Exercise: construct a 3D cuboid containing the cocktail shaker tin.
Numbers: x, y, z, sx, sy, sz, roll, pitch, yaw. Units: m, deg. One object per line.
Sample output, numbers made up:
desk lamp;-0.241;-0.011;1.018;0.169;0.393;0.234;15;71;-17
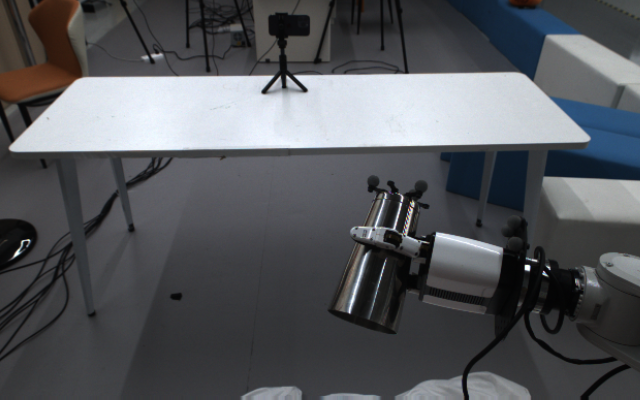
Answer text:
cocktail shaker tin;0.078;0.078;0.637;0.093;0.093;0.170;14;70;17
